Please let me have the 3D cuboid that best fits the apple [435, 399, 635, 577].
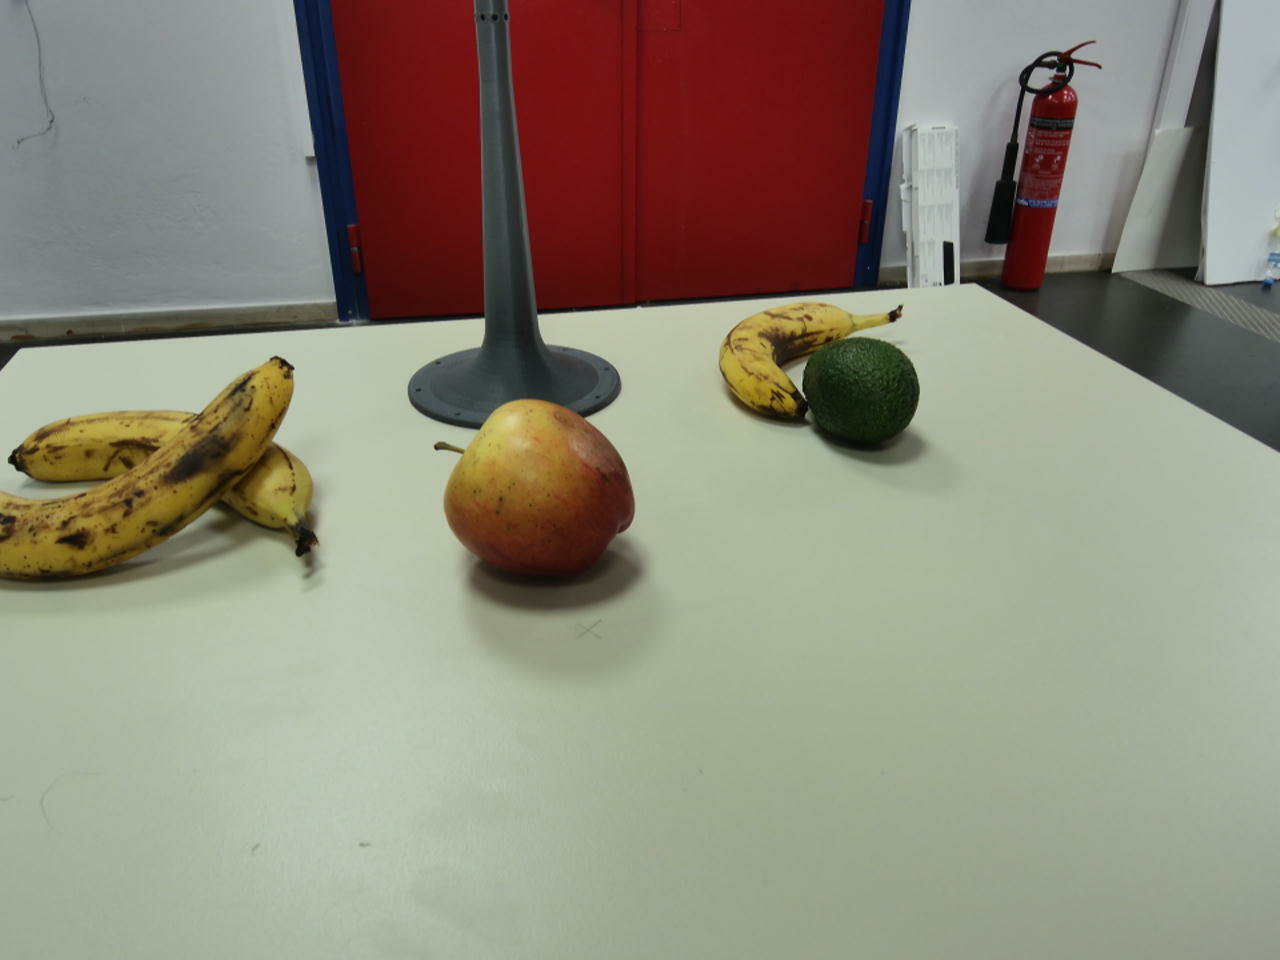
[{"bbox_3d":[-0.051,0.004,0.486,0.093,0.084,0.086,23,33,37],"label":"apple"}]
